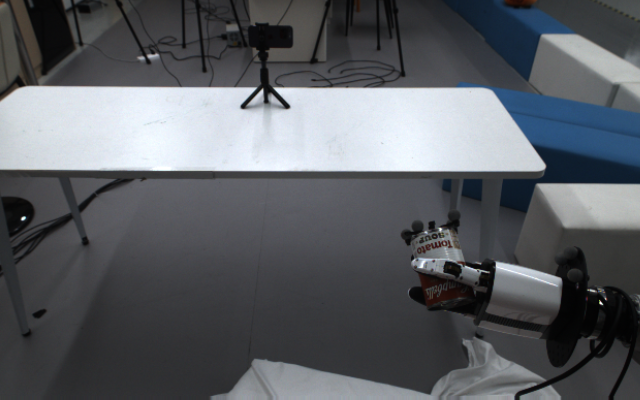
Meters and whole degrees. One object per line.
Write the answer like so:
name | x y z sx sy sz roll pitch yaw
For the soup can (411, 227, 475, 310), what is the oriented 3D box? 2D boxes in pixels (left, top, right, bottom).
soup can | 0.172 0.096 0.677 0.067 0.067 0.101 -6 67 -12
